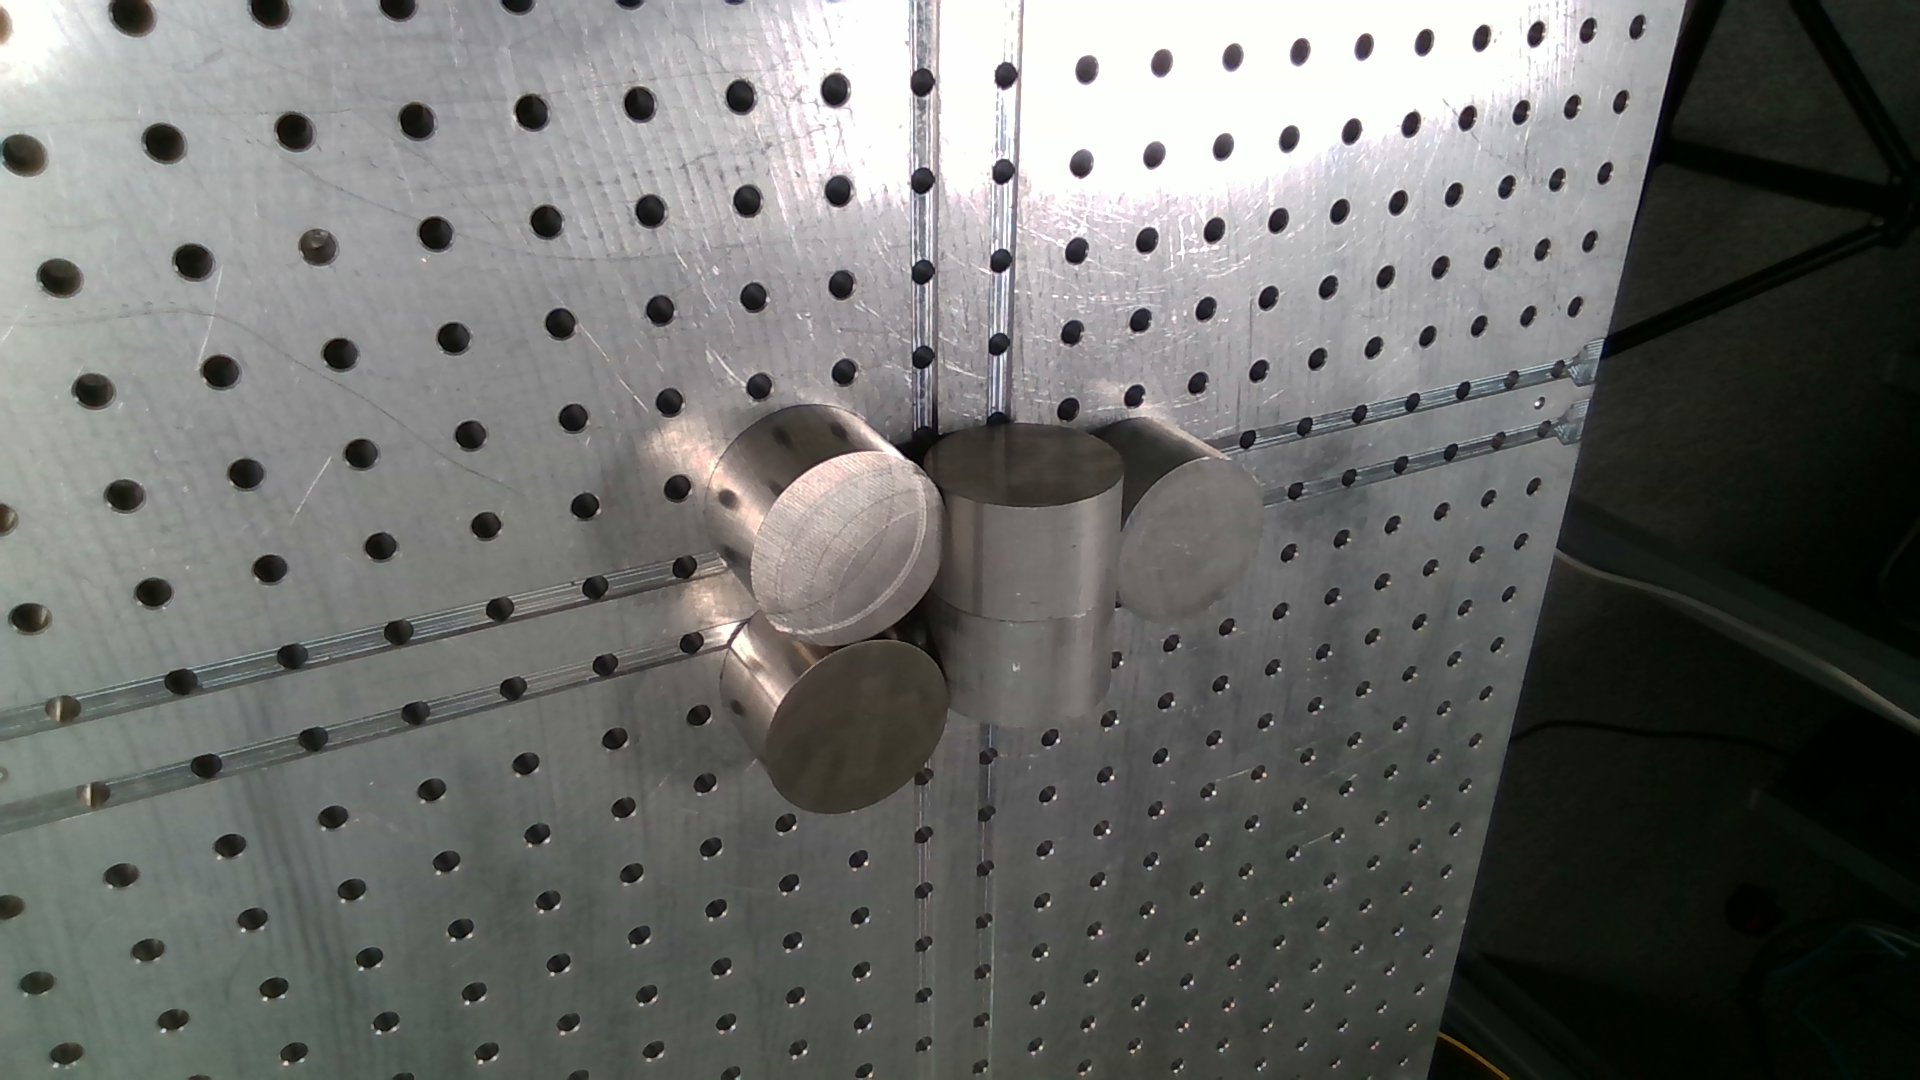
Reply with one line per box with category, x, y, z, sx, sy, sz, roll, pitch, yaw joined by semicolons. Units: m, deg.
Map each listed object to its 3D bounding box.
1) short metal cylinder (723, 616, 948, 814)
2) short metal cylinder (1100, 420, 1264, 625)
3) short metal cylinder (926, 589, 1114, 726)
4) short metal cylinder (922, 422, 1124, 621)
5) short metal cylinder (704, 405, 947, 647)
short metal cylinder;-0.052;0.065;0.569;0.080;0.050;0.080;-14;122;-25
short metal cylinder;0.088;-0.009;0.617;0.080;0.050;0.080;-14;122;-25
short metal cylinder;0.025;0.035;0.583;0.080;0.080;0.050;-14;121;-25
short metal cylinder;0.025;-0.009;0.559;0.080;0.080;0.050;-14;121;-25
short metal cylinder;-0.052;-0.006;0.531;0.080;0.050;0.080;-14;122;-25
